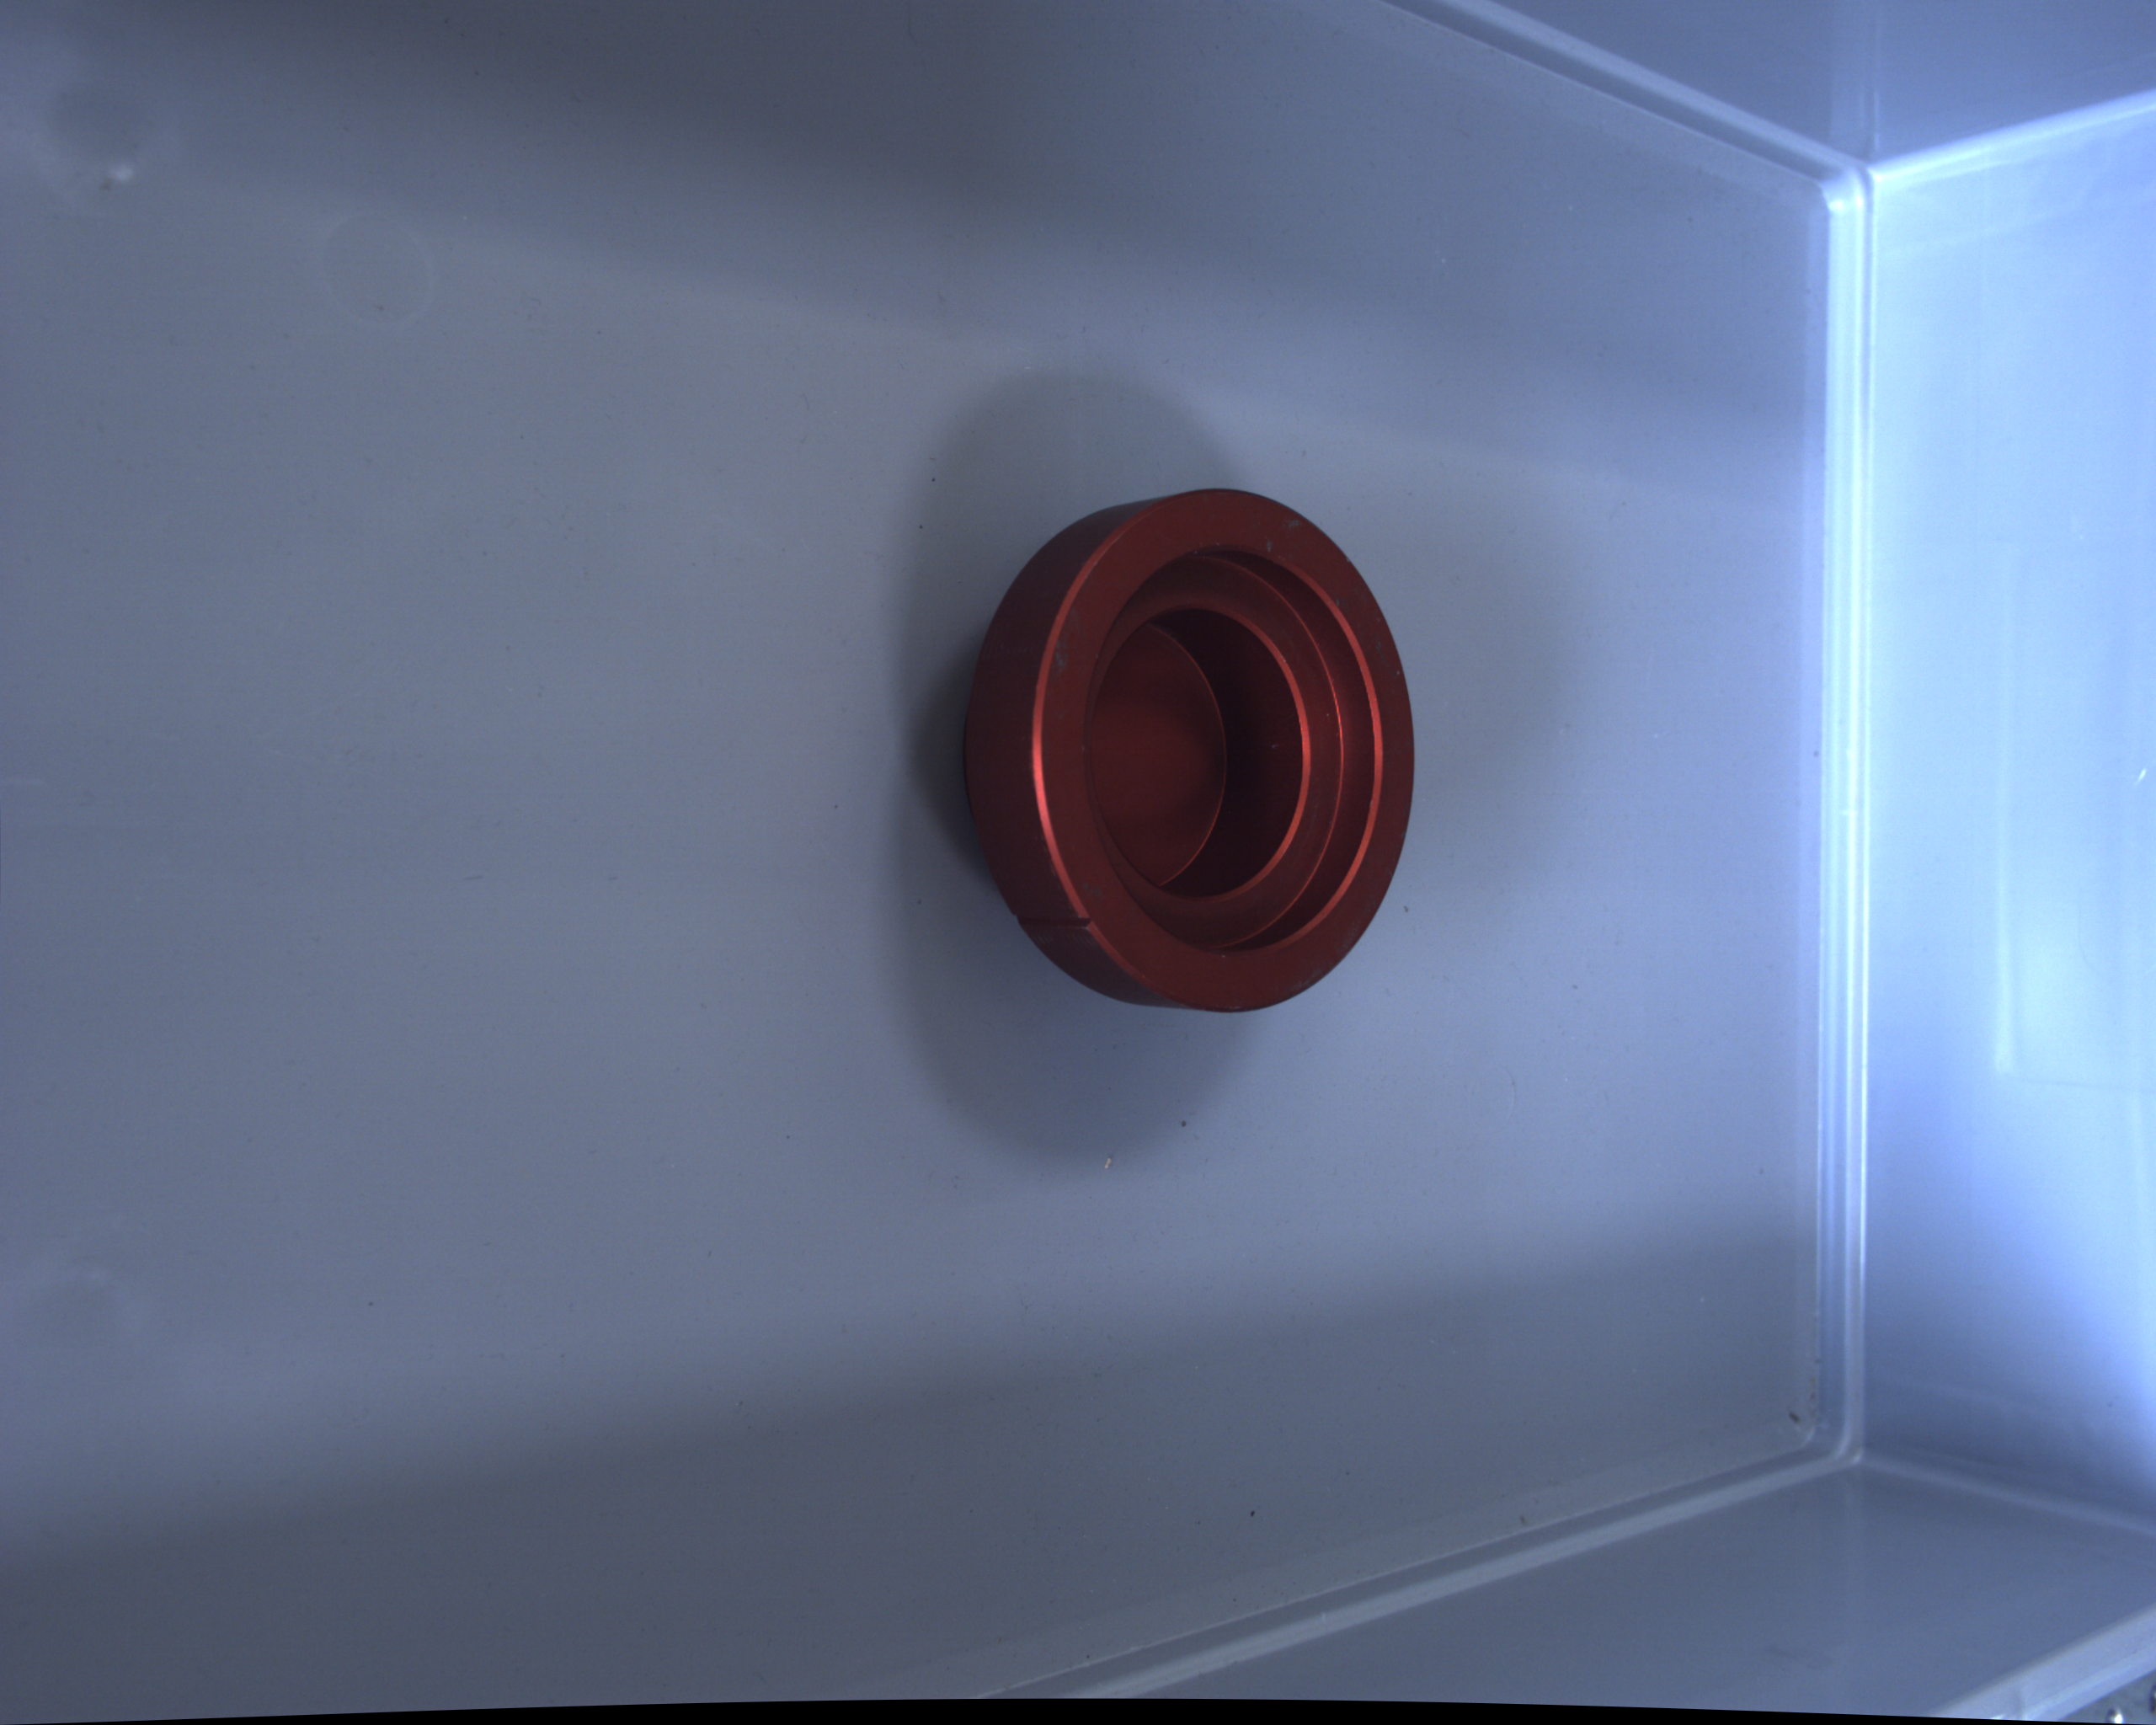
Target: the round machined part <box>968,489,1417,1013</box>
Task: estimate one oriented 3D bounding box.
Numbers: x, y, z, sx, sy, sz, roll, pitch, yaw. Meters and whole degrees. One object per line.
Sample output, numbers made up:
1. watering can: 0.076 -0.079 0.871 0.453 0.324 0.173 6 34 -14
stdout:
1. round machined part: 0.018 -0.021 0.405 0.099 0.042 0.097 0 90 -40
